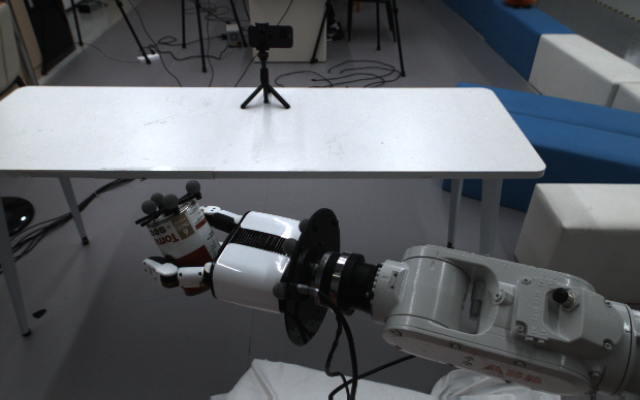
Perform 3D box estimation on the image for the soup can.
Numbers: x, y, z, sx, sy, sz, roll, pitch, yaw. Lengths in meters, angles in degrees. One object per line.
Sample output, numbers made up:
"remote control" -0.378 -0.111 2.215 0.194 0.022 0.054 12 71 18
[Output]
"soup can" -0.159 0.059 0.603 0.067 0.101 0.067 -23 16 7
